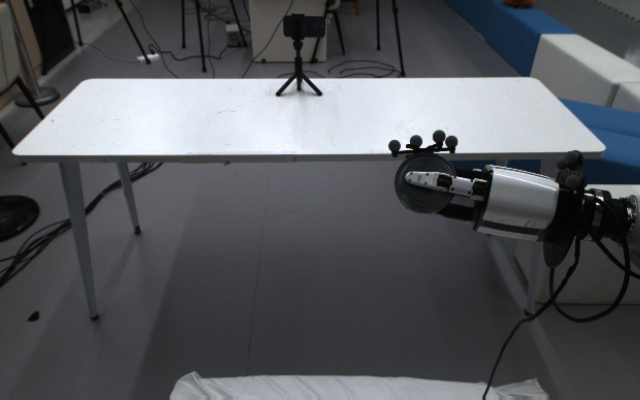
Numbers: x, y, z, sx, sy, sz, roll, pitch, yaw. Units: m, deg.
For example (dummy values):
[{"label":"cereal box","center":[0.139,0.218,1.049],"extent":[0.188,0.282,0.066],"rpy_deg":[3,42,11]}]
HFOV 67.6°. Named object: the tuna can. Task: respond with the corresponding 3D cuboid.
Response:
[{"label":"tuna can","center":[0.150,-0.024,0.684],"extent":[0.085,0.085,0.034],"rpy_deg":[10,-7,12]}]
